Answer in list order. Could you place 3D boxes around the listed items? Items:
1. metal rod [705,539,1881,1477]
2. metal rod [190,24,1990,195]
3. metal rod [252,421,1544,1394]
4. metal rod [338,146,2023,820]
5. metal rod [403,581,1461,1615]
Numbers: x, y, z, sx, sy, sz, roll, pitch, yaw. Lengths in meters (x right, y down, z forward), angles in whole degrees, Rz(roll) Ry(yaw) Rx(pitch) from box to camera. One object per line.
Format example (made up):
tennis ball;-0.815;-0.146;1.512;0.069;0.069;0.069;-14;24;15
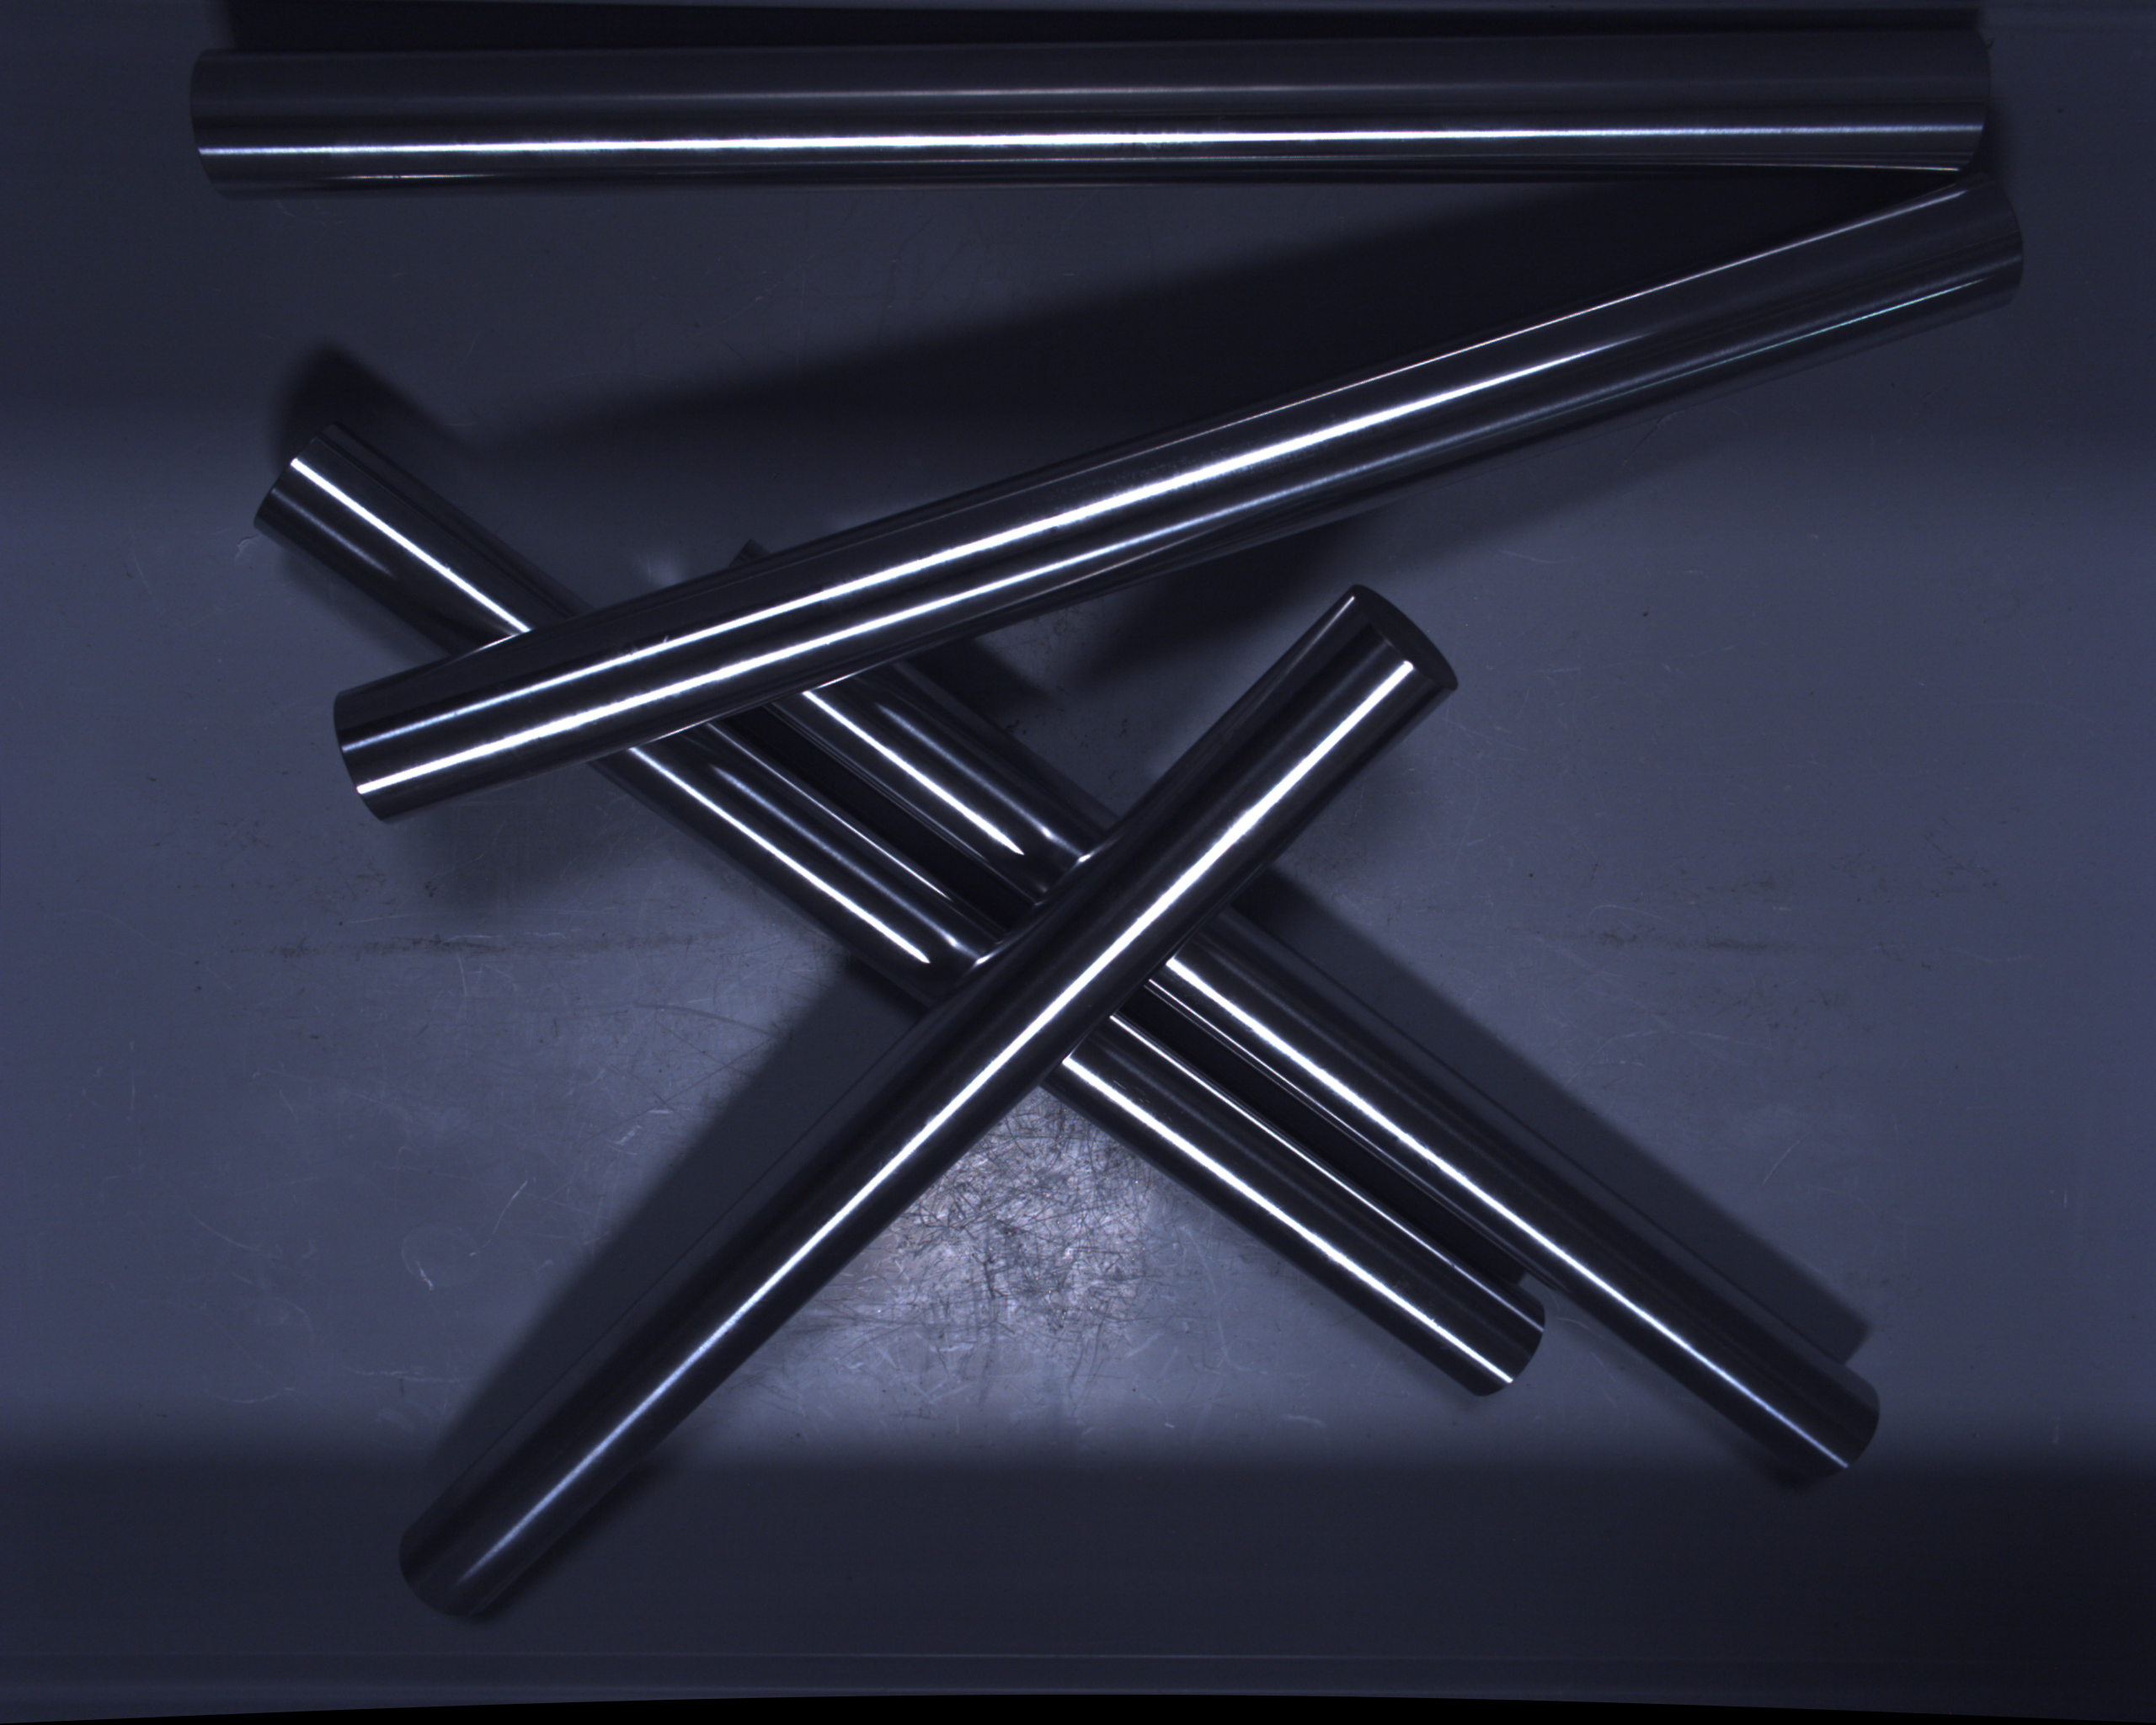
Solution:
metal rod;0.049;0.037;0.425;0.301;0.025;0.025;37;106;-13
metal rod;0.003;-0.131;0.362;0.302;0.025;0.025;-1;110;-1
metal rod;-0.026;0.016;0.416;0.301;0.025;0.025;37;106;-13
metal rod;0.018;-0.067;0.369;0.302;0.025;0.025;-19;109;0
metal rod;-0.042;0.059;0.410;0.025;0.025;0.299;39;113;-14
